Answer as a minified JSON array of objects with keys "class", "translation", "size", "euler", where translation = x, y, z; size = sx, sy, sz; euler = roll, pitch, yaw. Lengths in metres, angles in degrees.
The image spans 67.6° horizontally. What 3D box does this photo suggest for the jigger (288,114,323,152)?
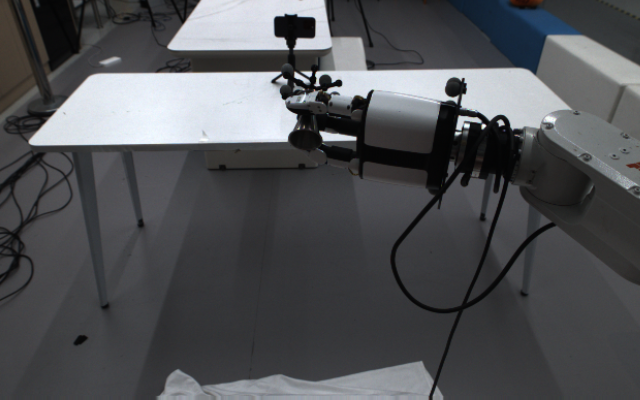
[{"class":"jigger","translation":[-0.017,-0.107,0.627],"size":[0.043,0.043,0.071],"euler":[4,60,2]}]
